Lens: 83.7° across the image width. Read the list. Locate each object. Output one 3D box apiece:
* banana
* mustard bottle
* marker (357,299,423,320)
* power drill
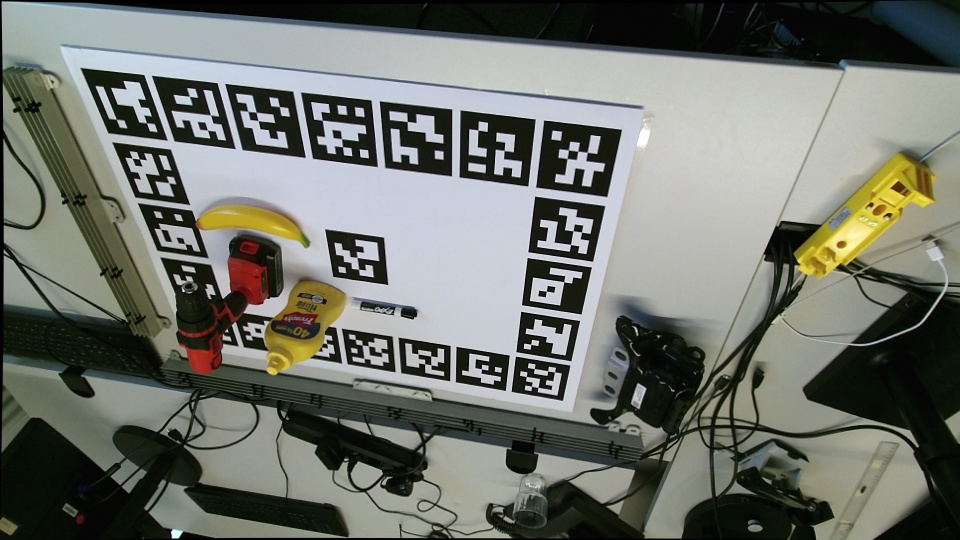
[{"bbox_3d":[-0.377,-0.084,0.913,0.198,0.039,0.074,13,124,0],"label":"banana"},{"bbox_3d":[-0.304,0.097,0.926,0.096,0.191,0.058,17,126,1],"label":"mustard bottle"},{"bbox_3d":[-0.165,0.073,0.987,0.121,0.019,0.019,9,125,5],"label":"marker"},{"bbox_3d":[-0.408,0.039,0.888,0.057,0.186,0.184,20,128,0],"label":"power drill"}]
